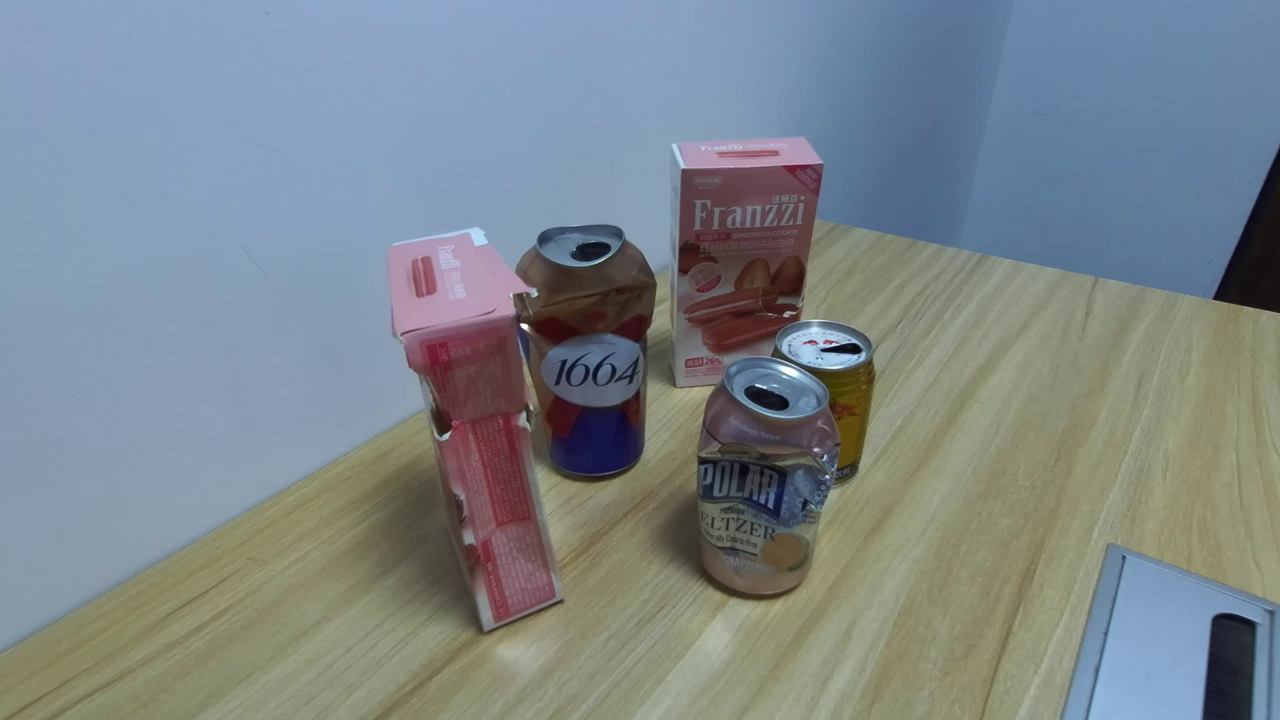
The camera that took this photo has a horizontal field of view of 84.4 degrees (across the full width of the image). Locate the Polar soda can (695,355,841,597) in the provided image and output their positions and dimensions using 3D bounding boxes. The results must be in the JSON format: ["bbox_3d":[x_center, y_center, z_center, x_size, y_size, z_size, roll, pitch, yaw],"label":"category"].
[{"bbox_3d":[0.070,0.063,0.377,0.070,0.122,0.067,14,30,24],"label":"Polar soda can"}]

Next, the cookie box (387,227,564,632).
[{"bbox_3d":[-0.080,0.040,0.369,0.059,0.186,0.104,-15,32,-17],"label":"cookie box"}]

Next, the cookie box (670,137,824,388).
[{"bbox_3d":[0.077,-0.064,0.524,0.105,0.188,0.048,-3,37,-4],"label":"cookie box"}]

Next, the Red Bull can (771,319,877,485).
[{"bbox_3d":[0.115,0.028,0.458,0.069,0.092,0.069,-2,32,1],"label":"Red Bull can"}]

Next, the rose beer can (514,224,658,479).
[{"bbox_3d":[-0.031,-0.003,0.452,0.074,0.162,0.067,-26,38,-33],"label":"rose beer can"}]
